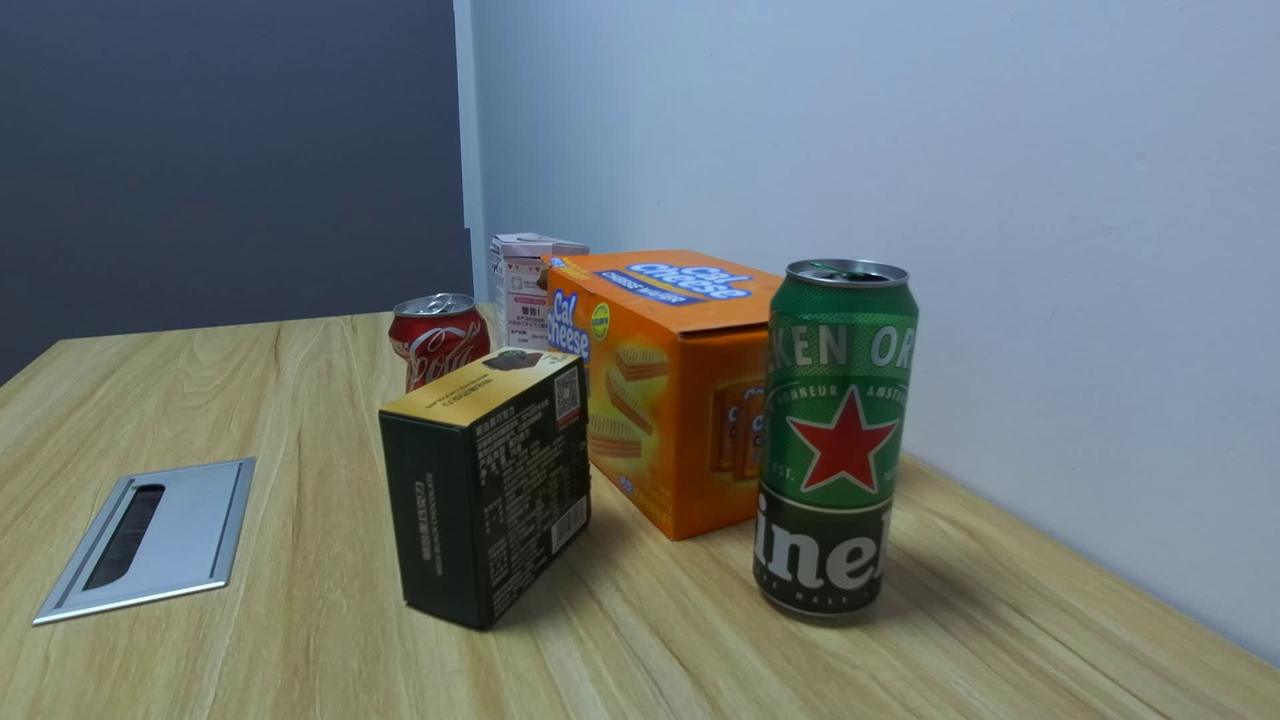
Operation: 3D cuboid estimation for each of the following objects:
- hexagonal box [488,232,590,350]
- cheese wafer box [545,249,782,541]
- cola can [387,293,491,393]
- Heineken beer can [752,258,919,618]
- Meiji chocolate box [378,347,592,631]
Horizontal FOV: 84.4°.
[{"bbox_3d":[-0.086,-0.045,0.643,0.092,0.135,0.085,4,19,16],"label":"hexagonal box"},{"bbox_3d":[0.033,0.003,0.510,0.150,0.137,0.226,-10,21,-25],"label":"cheese wafer box"},{"bbox_3d":[-0.139,0.013,0.503,0.066,0.117,0.066,-14,23,-34],"label":"cola can"},{"bbox_3d":[0.093,0.041,0.347,0.067,0.169,0.067,1,17,0],"label":"Heineken beer can"},{"bbox_3d":[-0.075,0.061,0.376,0.056,0.109,0.110,7,20,23],"label":"Meiji chocolate box"}]
